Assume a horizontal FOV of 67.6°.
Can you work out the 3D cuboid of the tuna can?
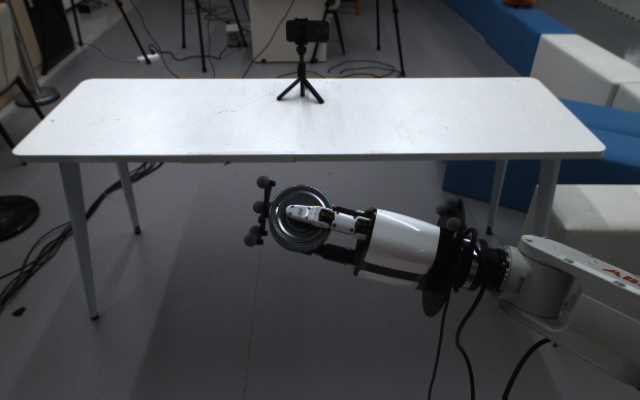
[{"bbox_3d":[-0.023,0.023,0.634,0.085,0.034,0.085,1,73,-5],"label":"tuna can"}]
